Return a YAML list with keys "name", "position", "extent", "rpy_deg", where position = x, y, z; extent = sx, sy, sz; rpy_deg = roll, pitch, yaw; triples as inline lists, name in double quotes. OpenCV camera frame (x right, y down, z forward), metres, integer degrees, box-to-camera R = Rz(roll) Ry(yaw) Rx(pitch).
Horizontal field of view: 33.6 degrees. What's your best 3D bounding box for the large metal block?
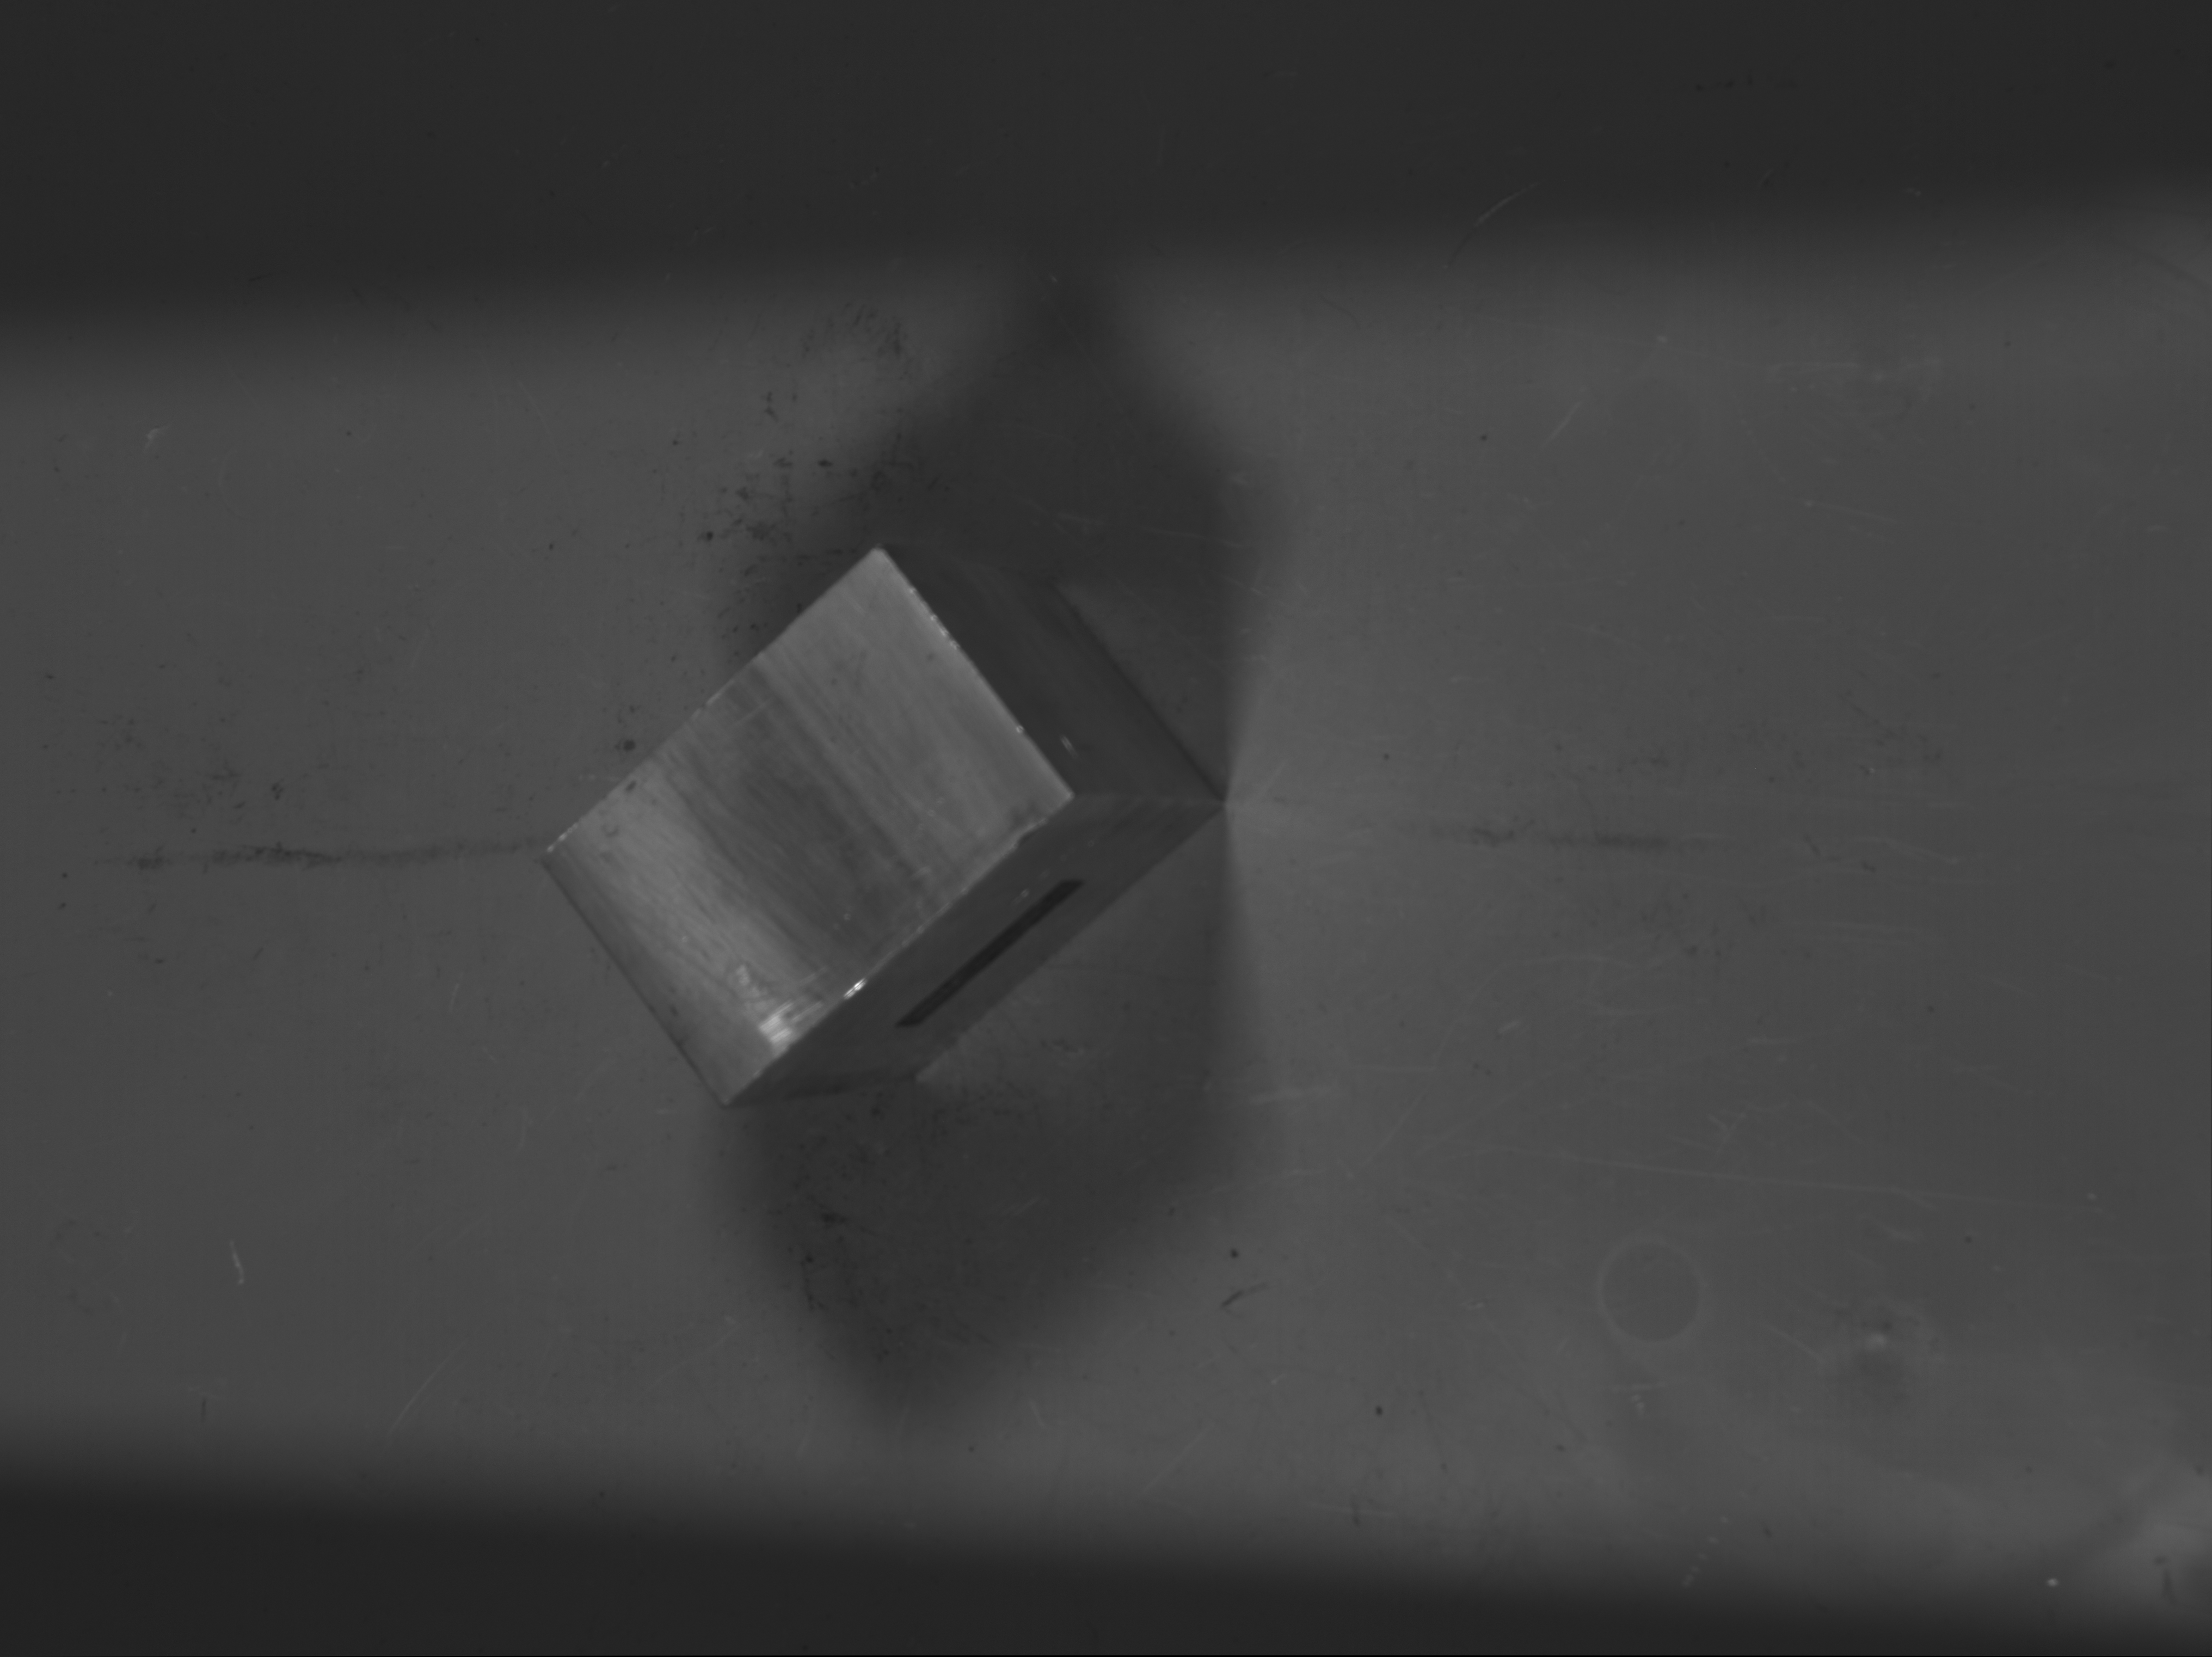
- name: "large metal block"
  position: [-0.032, 0.000, 0.624]
  extent: [0.080, 0.080, 0.050]
  rpy_deg: [-41, 77, 15]
